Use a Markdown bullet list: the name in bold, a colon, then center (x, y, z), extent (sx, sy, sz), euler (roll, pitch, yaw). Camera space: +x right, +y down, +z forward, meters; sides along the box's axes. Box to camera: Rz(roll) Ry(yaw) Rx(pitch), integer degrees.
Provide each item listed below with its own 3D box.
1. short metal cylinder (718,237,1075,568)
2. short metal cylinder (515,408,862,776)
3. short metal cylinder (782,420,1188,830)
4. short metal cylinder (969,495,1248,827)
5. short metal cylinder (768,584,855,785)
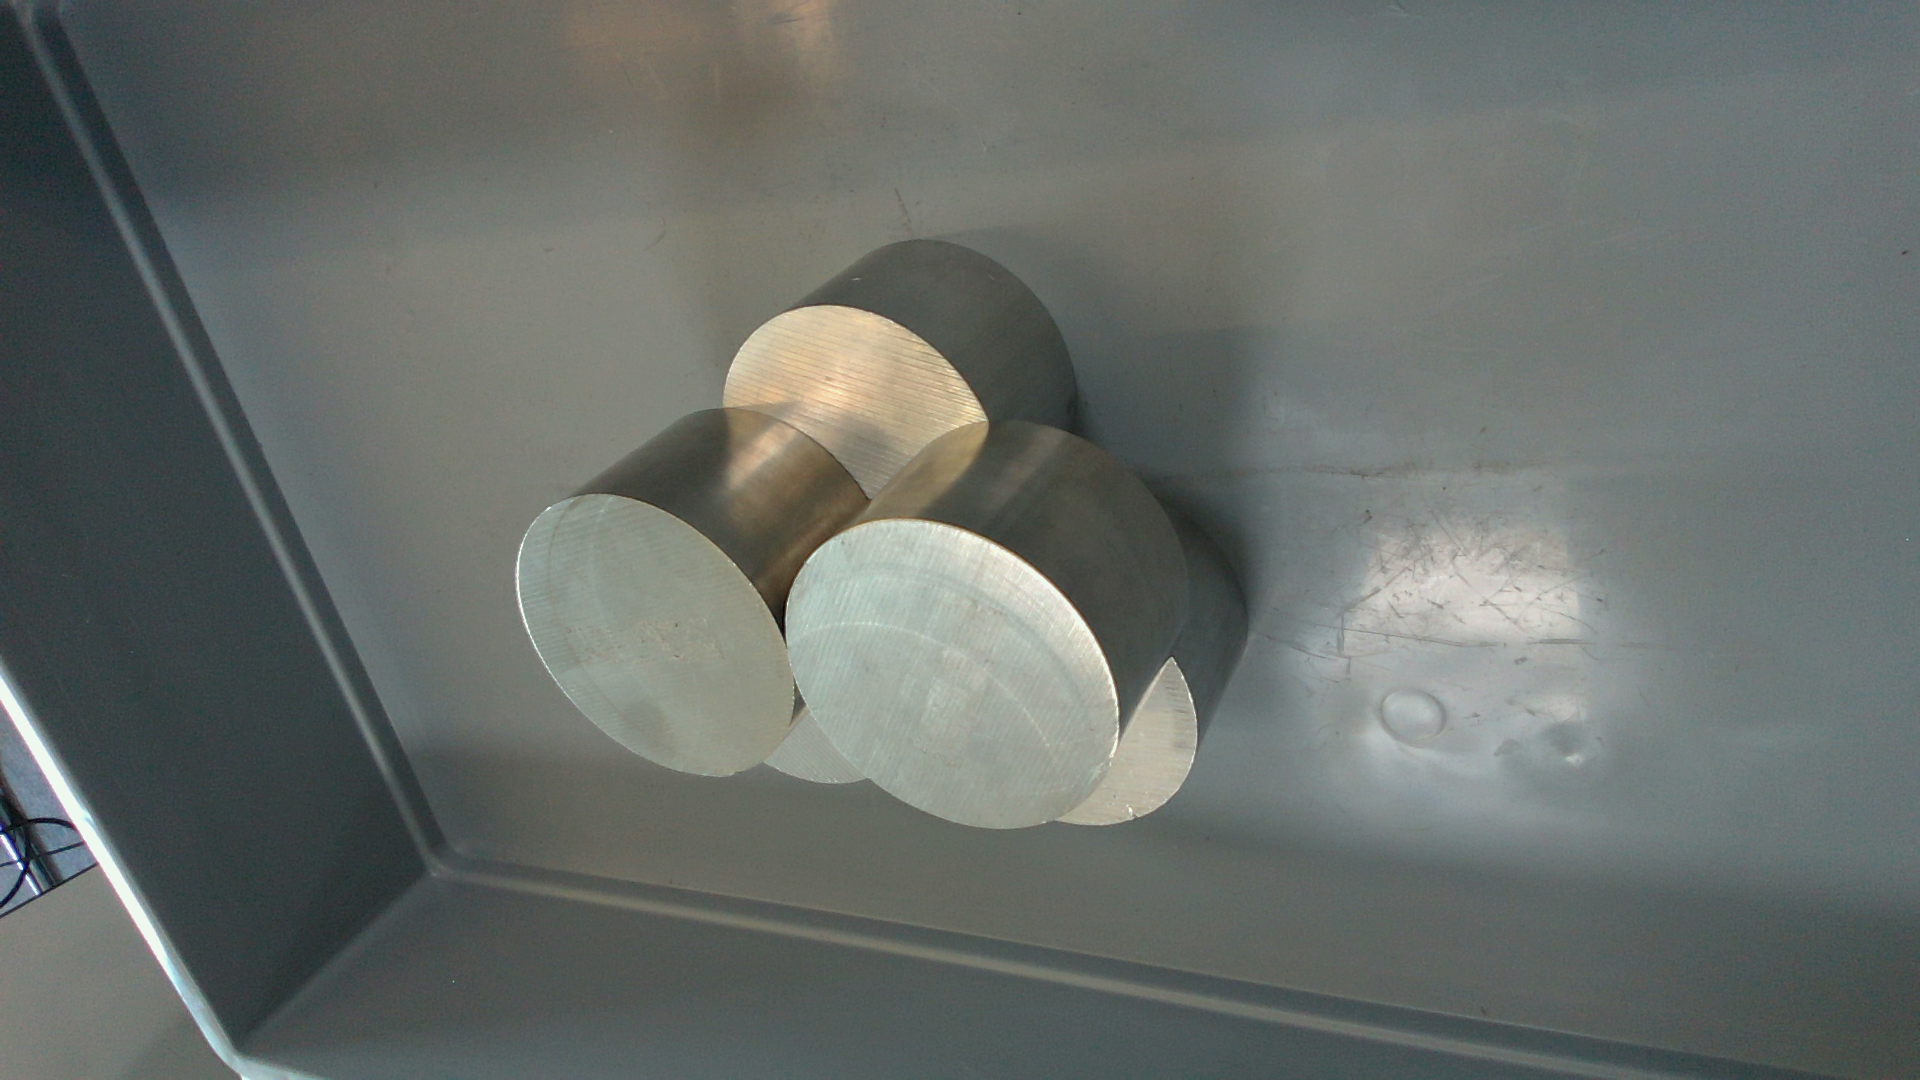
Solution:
- **short metal cylinder**: center (-0.016, -0.033, 0.363), extent (0.080, 0.050, 0.080), euler (13, 124, 21)
- **short metal cylinder**: center (-0.065, 0.013, 0.353), extent (0.080, 0.050, 0.080), euler (13, 124, 21)
- **short metal cylinder**: center (0.007, 0.019, 0.318), extent (0.080, 0.050, 0.080), euler (13, 124, 21)
- **short metal cylinder**: center (0.033, 0.031, 0.376), extent (0.080, 0.050, 0.080), euler (13, 124, 21)
- **short metal cylinder**: center (-0.040, 0.026, 0.412), extent (0.080, 0.050, 0.080), euler (13, 124, 21)
